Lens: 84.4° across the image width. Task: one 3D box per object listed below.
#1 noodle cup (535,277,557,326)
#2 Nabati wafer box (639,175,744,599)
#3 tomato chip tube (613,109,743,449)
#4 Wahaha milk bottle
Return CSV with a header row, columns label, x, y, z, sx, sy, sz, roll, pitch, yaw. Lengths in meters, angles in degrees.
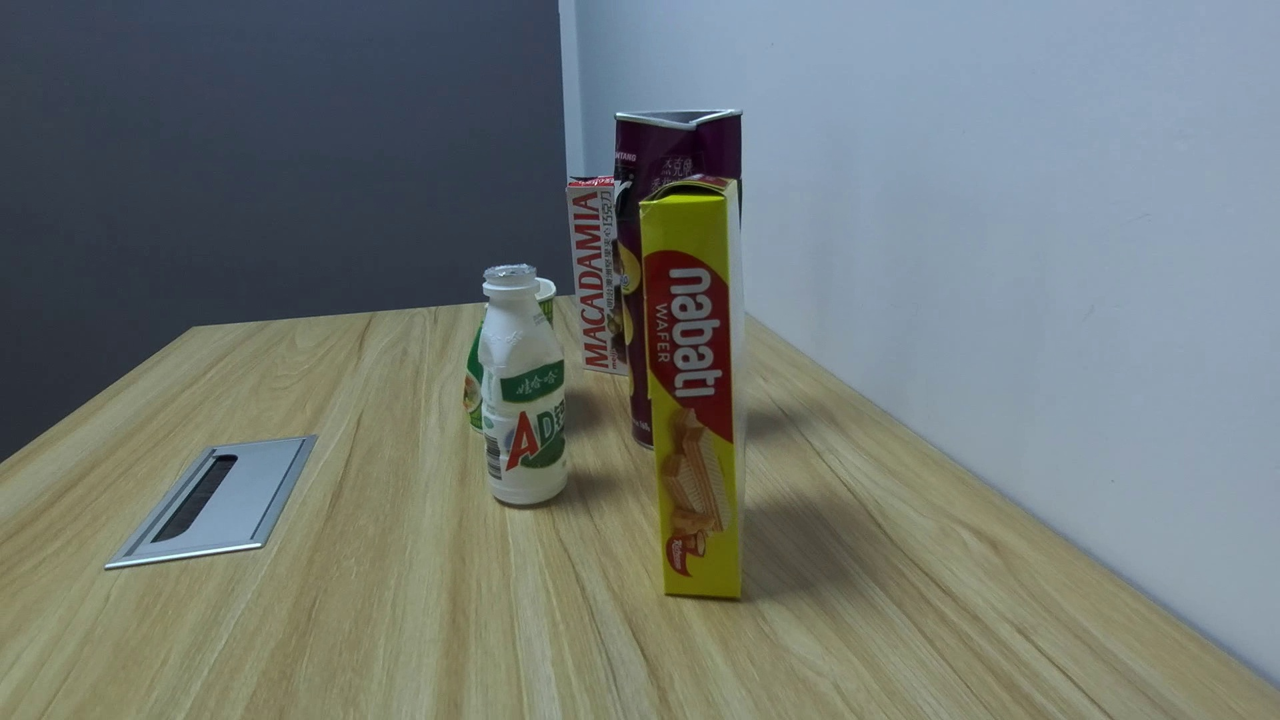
label,x,y,z,sx,sy,sz,roll,pitch,yaw
noodle cup,-0.116,-0.022,0.692,0.083,0.122,0.075,-2,14,-43
Nabati wafer box,0.031,0.013,0.374,0.042,0.204,0.107,-2,14,7
tomato chip tube,0.030,-0.054,0.500,0.077,0.235,0.076,4,17,19
Wahaha milk bottle,-0.076,0.016,0.447,0.055,0.149,0.055,-3,17,1
